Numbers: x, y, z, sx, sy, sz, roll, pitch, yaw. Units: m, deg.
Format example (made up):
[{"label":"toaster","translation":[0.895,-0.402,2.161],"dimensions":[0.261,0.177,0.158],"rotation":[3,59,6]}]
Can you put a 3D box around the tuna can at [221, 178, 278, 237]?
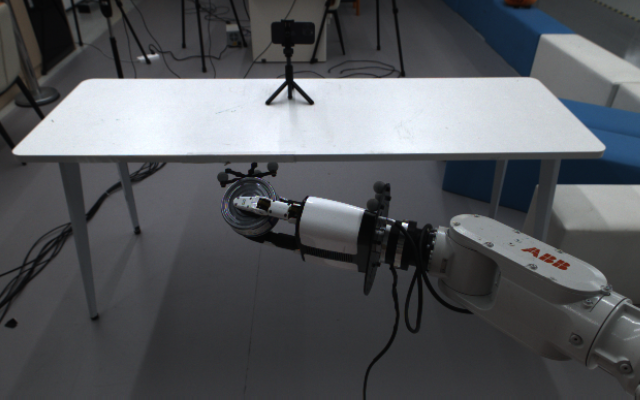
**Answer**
[{"label":"tuna can","translation":[-0.099,0.015,0.716],"dimensions":[0.085,0.034,0.085],"rotation":[-4,68,9]}]
